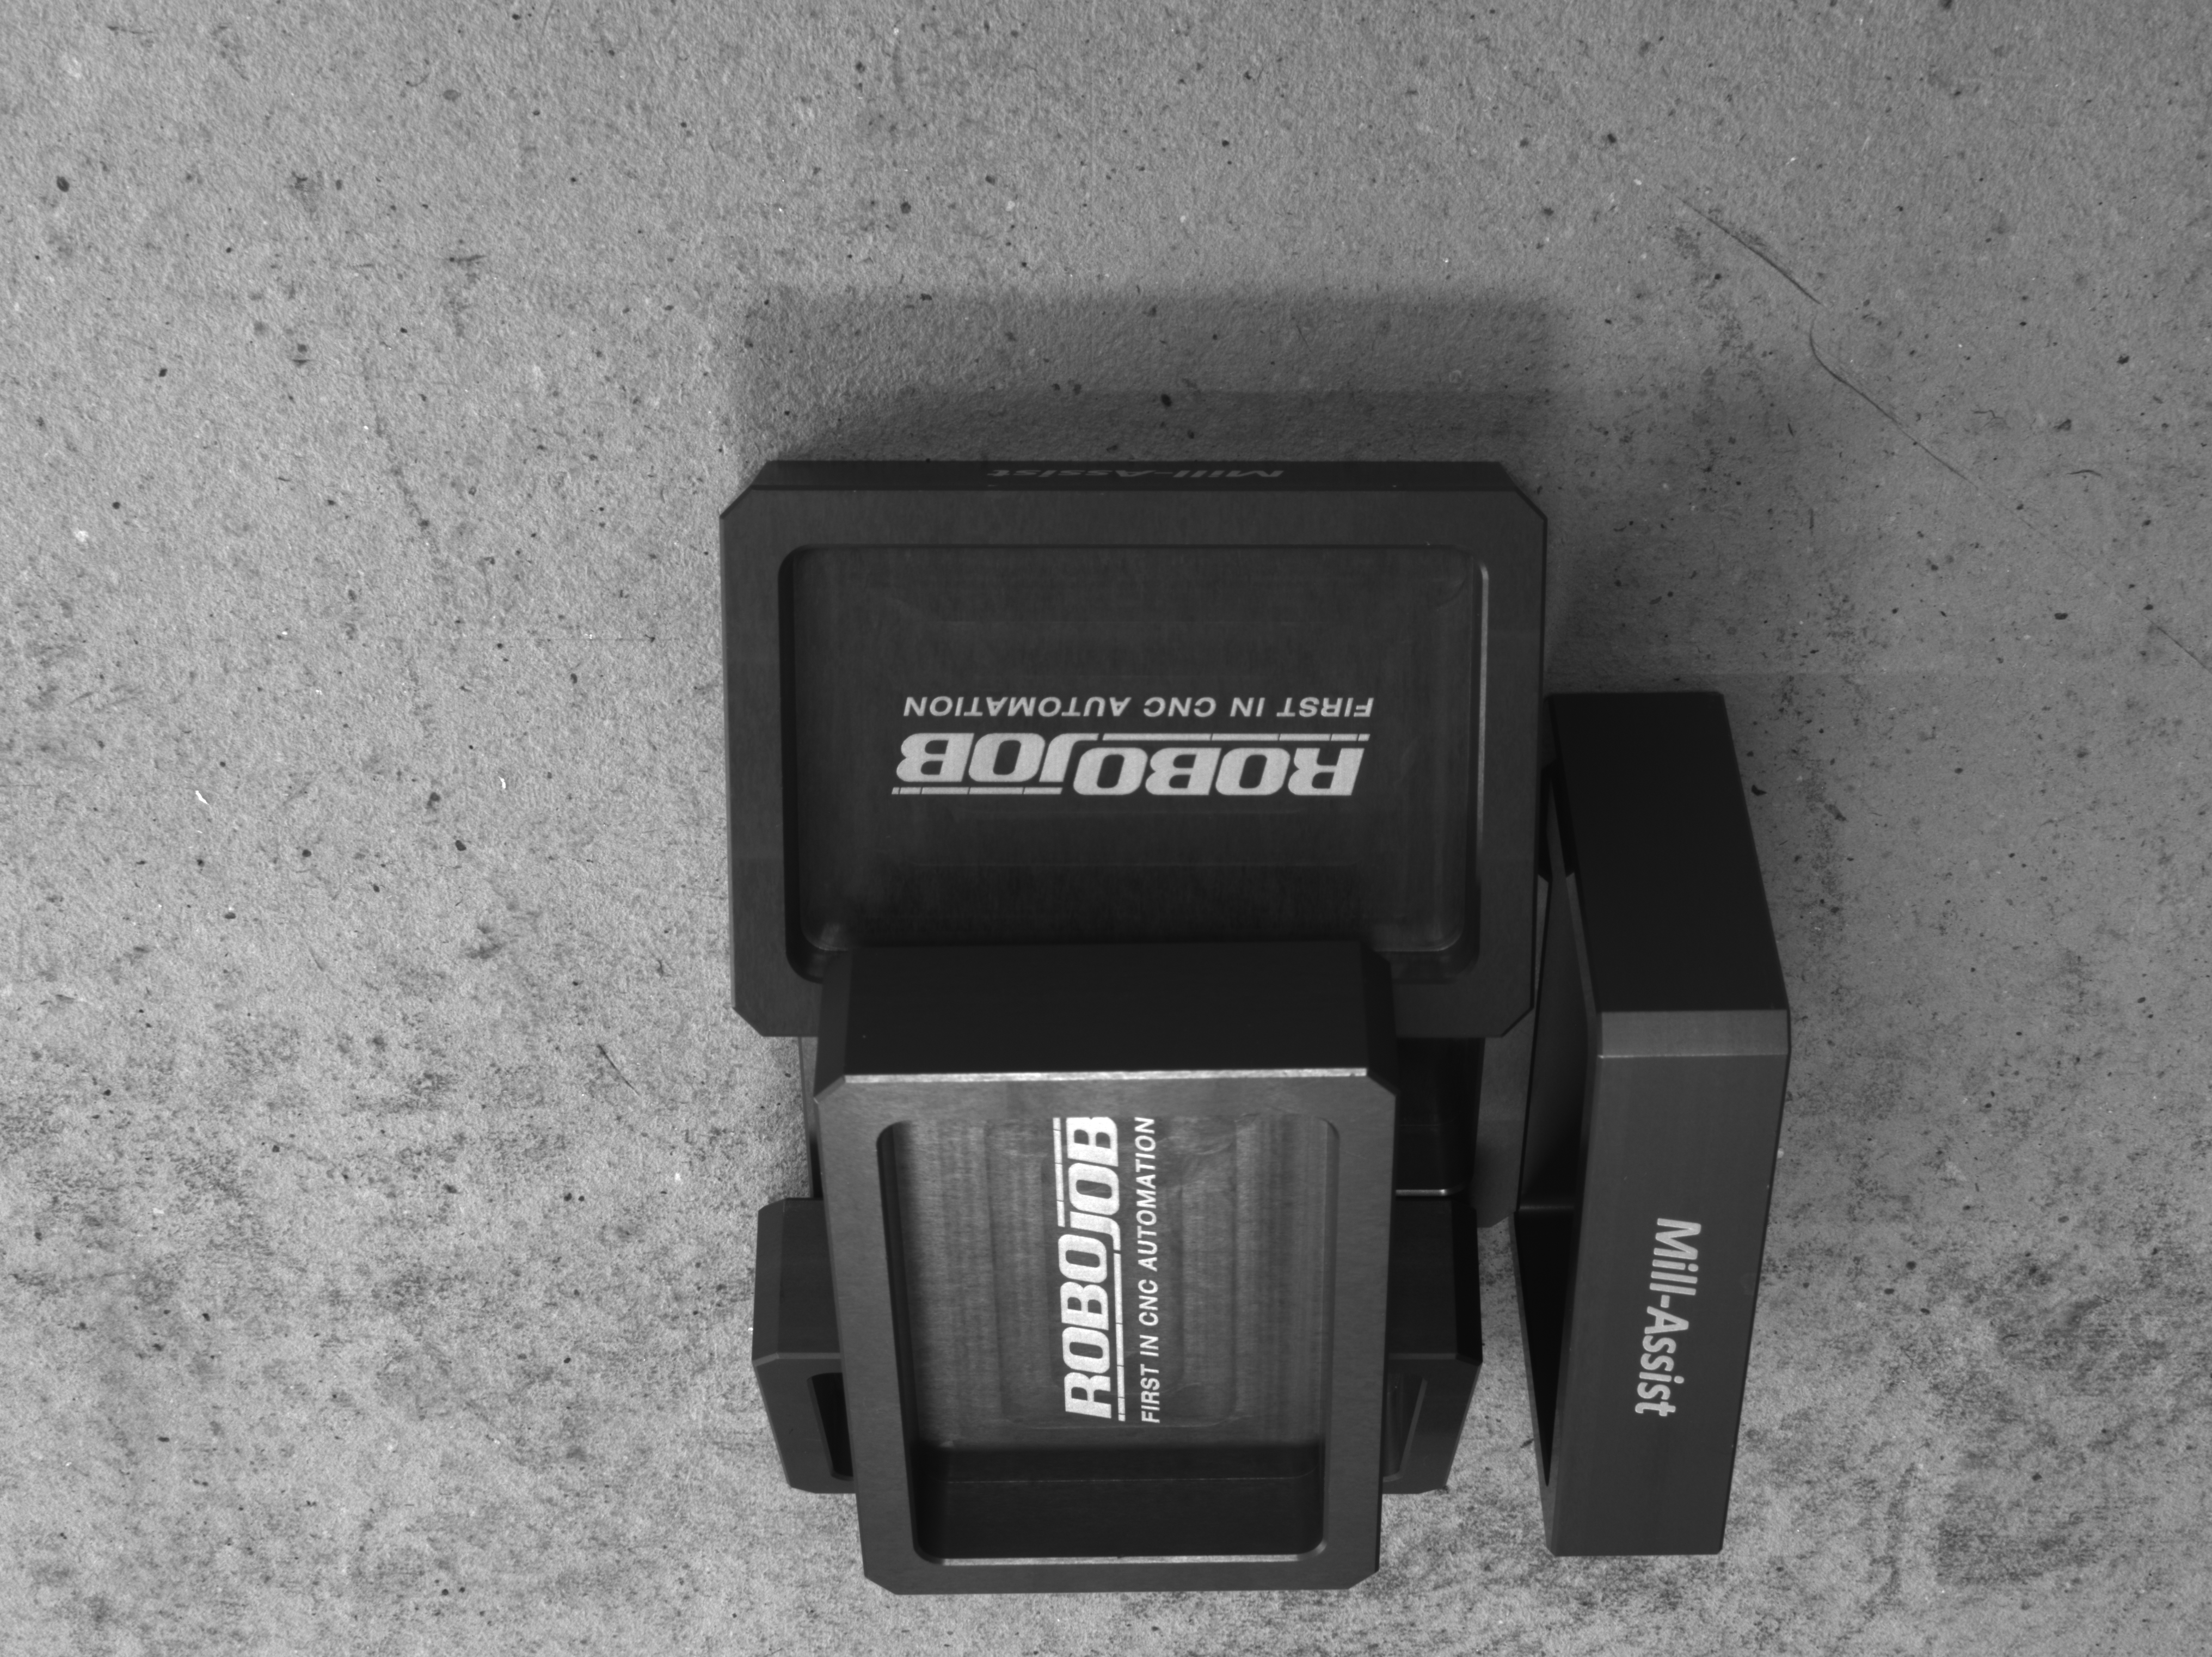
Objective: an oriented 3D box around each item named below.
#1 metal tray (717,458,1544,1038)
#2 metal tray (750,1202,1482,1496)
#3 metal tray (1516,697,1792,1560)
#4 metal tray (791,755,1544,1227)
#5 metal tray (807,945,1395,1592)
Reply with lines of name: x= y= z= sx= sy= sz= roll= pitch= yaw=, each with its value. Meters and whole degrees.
metal tray: x=0.004 y=-0.013 z=0.602 sx=0.130 sy=0.030 sz=0.090 roll=0 pitch=103 yaw=0
metal tray: x=0.002 y=0.100 z=0.697 sx=0.130 sy=0.030 sz=0.090 roll=0 pitch=155 yaw=0
metal tray: x=0.092 y=0.053 z=0.641 sx=0.030 sy=0.090 sz=0.130 roll=-1 pitch=130 yaw=1
metal tray: x=0.010 y=0.031 z=0.659 sx=0.130 sy=0.030 sz=0.090 roll=-1 pitch=132 yaw=1
metal tray: x=0.001 y=0.076 z=0.615 sx=0.090 sy=0.030 sz=0.130 roll=-1 pitch=132 yaw=1
